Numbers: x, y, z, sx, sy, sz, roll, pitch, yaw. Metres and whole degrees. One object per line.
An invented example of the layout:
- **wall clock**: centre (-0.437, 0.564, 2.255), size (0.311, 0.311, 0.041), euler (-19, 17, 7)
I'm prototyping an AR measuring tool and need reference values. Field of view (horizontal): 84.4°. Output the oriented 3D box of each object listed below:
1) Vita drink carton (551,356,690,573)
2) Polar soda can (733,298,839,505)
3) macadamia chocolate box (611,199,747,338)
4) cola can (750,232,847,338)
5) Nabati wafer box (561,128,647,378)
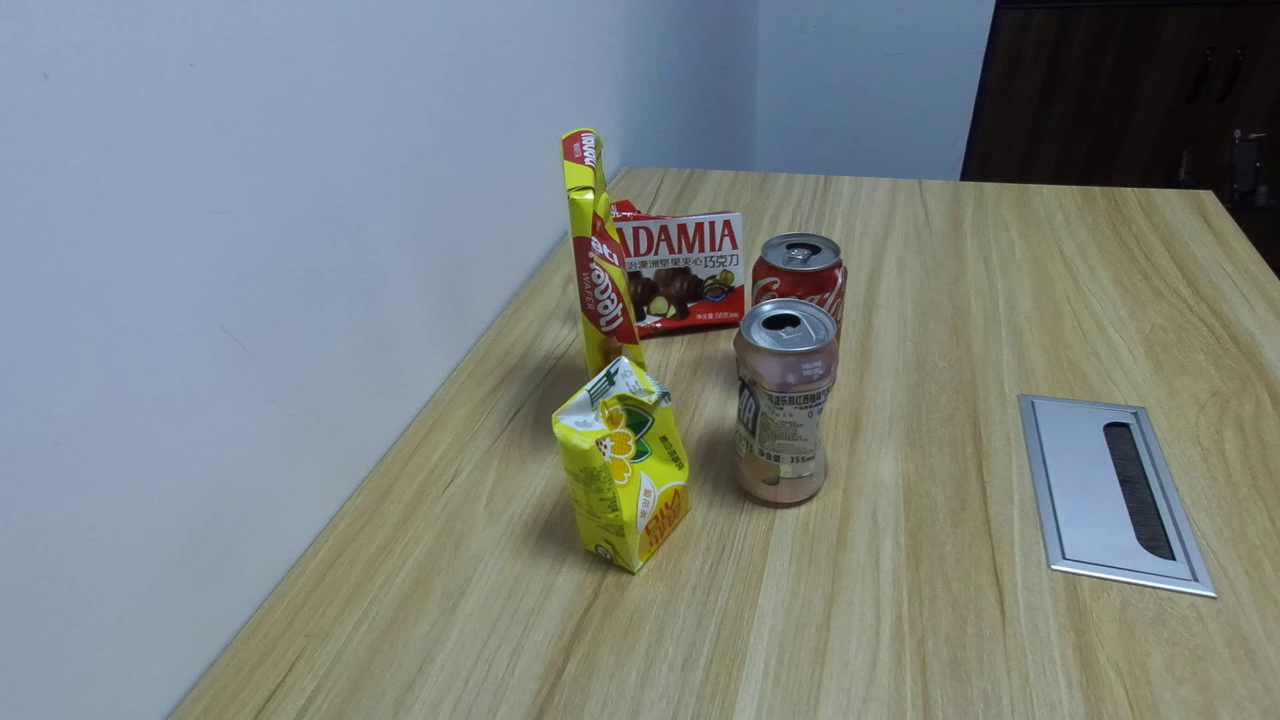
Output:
- **Vita drink carton**: centre (-0.006, 0.063, 0.418), size (0.046, 0.110, 0.071), euler (18, 44, 33)
- **Polar soda can**: centre (0.091, 0.028, 0.445), size (0.067, 0.122, 0.074), euler (23, 45, 33)
- **macadamia chocolate box**: centre (0.026, -0.080, 0.604), size (0.126, 0.112, 0.056), euler (-6, 35, 0)
- **cola can**: centre (0.115, -0.031, 0.524), size (0.068, 0.120, 0.067), euler (-2, 35, 2)
- **Nabati wafer box**: centre (-0.023, -0.043, 0.482), size (0.042, 0.205, 0.113), euler (-12, 39, -6)
